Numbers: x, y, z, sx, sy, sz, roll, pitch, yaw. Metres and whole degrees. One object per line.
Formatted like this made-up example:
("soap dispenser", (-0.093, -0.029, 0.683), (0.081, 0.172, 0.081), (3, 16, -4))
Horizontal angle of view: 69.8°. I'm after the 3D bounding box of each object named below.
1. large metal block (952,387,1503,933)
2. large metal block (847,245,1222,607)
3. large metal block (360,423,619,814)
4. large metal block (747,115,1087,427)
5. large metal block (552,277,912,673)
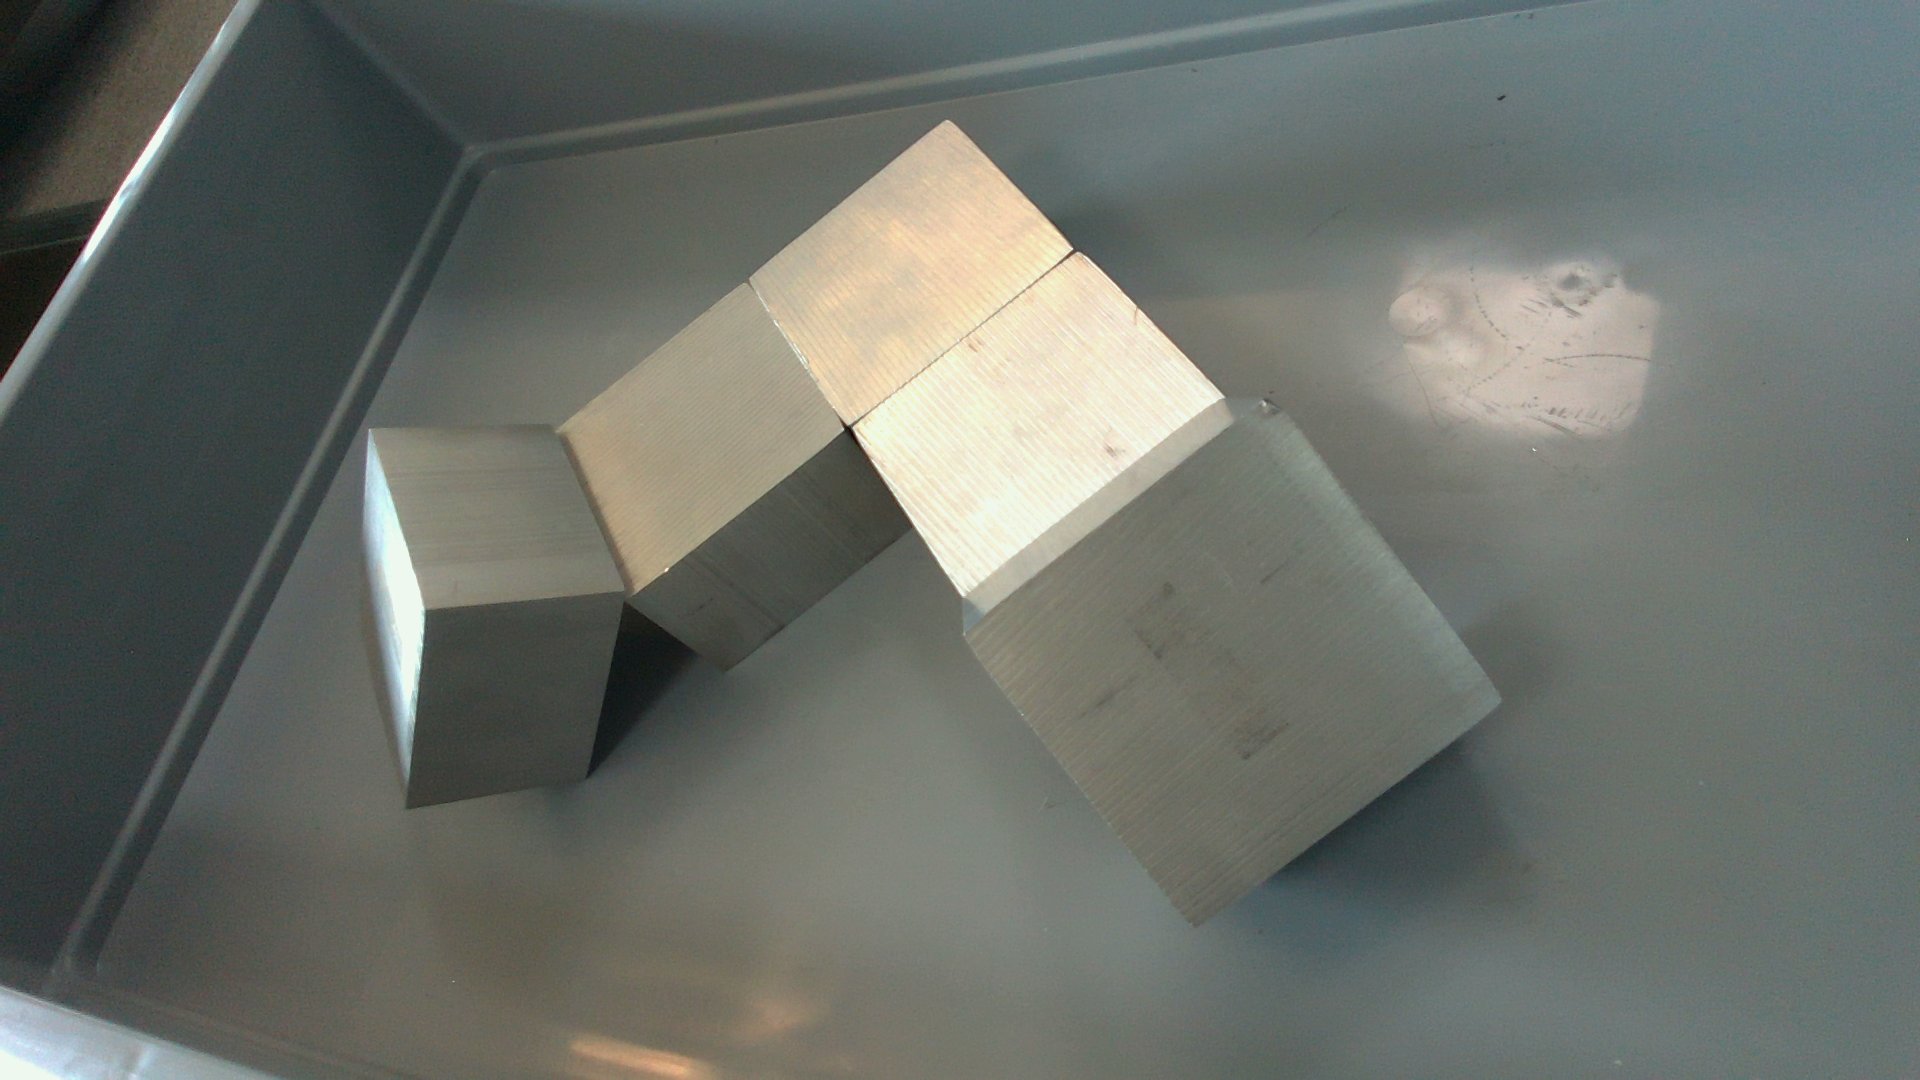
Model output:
("large metal block", (0.055, 0.023, 0.304), (0.080, 0.050, 0.080), (-38, 94, 3))
("large metal block", (0.029, -0.019, 0.372), (0.080, 0.050, 0.080), (-38, 51, 3))
("large metal block", (-0.145, 0.021, 0.413), (0.080, 0.050, 0.080), (55, 137, 39))
("large metal block", (-0.007, -0.070, 0.423), (0.080, 0.050, 0.080), (-38, 51, 3))
("large metal block", (-0.071, -0.021, 0.427), (0.080, 0.050, 0.080), (-38, 51, 3))
